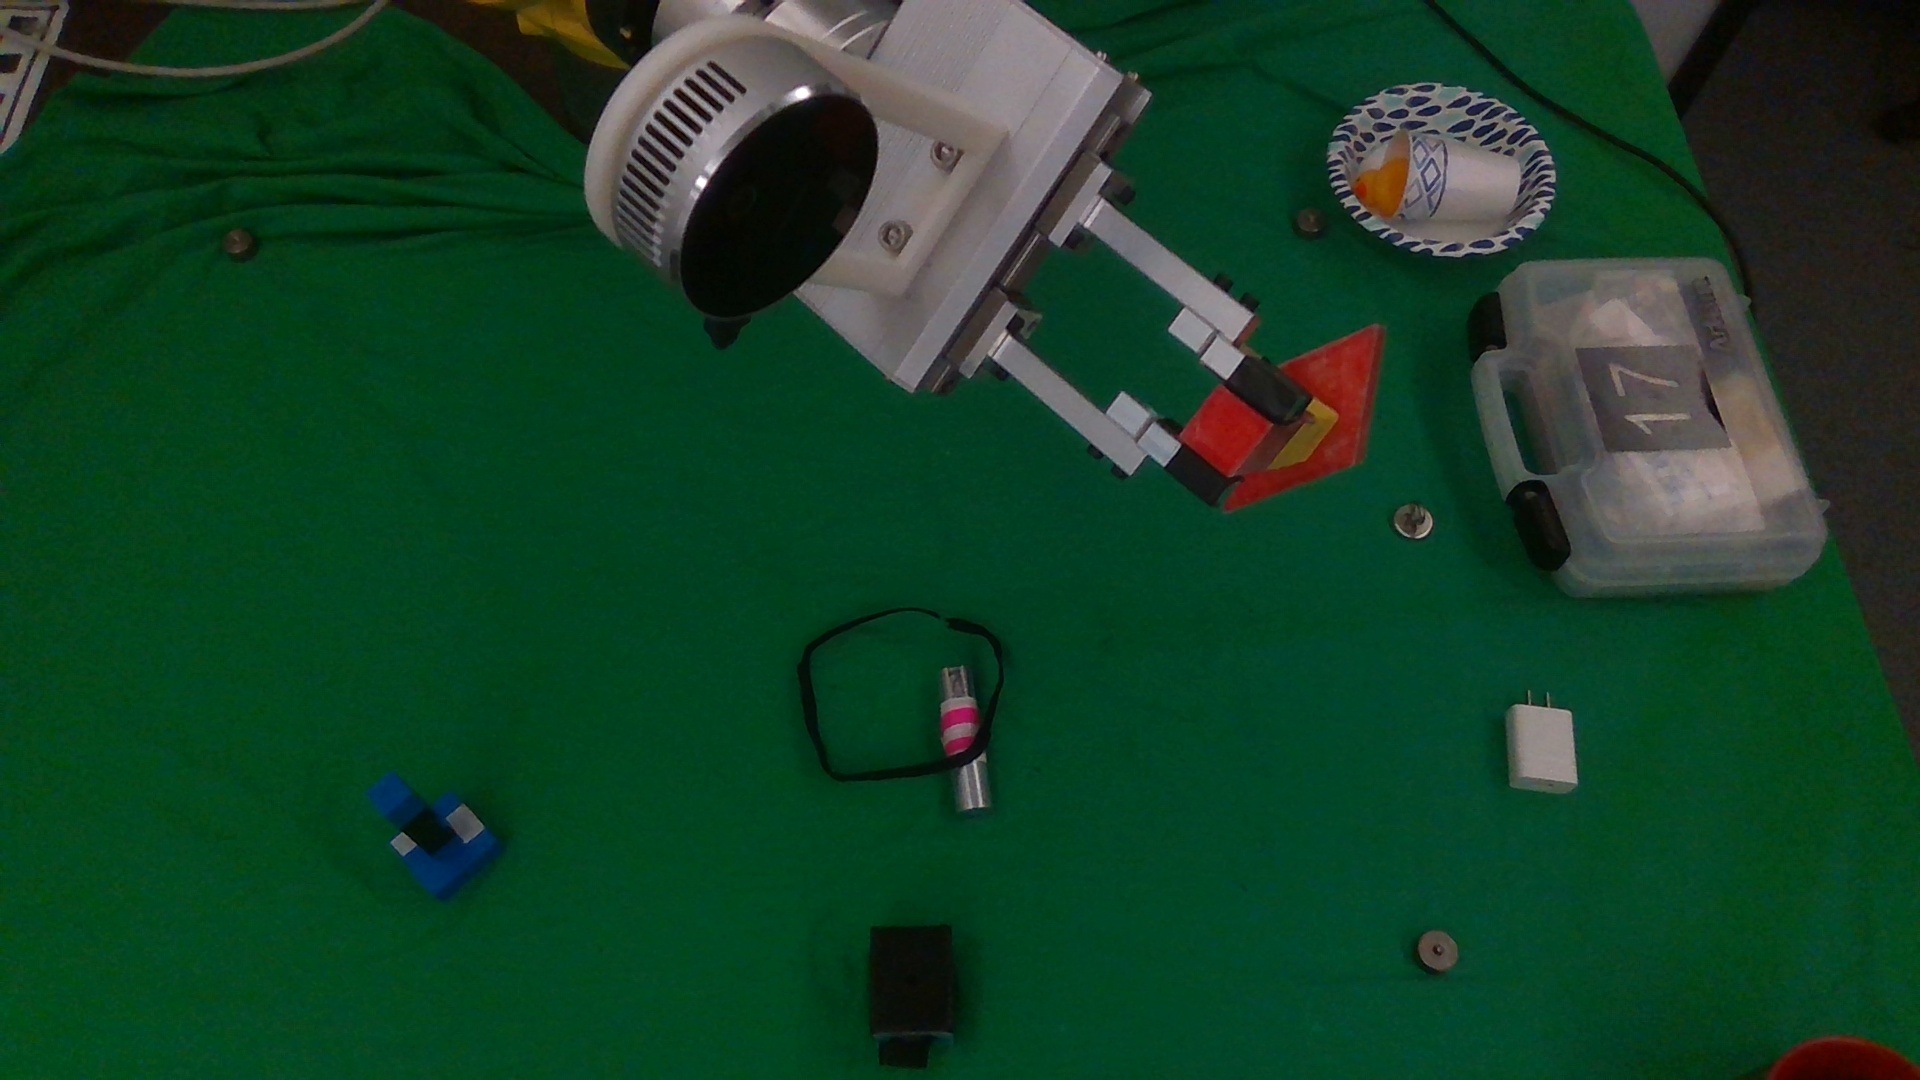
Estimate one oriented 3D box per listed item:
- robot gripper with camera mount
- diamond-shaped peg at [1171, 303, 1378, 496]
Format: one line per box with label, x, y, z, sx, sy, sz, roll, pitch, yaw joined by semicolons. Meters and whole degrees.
robot gripper with camera mount;0.004;-0.089;0.364;0.159;0.193;0.119;41;103;16
diamond-shaped peg;0.098;-0.045;0.451;0.045;0.121;0.074;11;100;24
